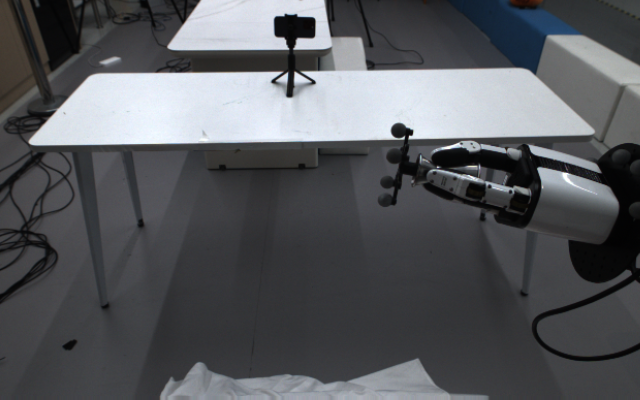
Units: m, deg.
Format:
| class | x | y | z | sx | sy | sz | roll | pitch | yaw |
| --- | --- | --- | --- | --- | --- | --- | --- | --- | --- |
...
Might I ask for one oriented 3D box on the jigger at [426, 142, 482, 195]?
| class | x | y | z | sx | sy | sz | roll | pitch | yaw |
| --- | --- | --- | --- | --- | --- | --- | --- | --- | --- |
| jigger | 0.146 | -0.032 | 0.555 | 0.071 | 0.043 | 0.043 | 11 | 35 | 3 |
